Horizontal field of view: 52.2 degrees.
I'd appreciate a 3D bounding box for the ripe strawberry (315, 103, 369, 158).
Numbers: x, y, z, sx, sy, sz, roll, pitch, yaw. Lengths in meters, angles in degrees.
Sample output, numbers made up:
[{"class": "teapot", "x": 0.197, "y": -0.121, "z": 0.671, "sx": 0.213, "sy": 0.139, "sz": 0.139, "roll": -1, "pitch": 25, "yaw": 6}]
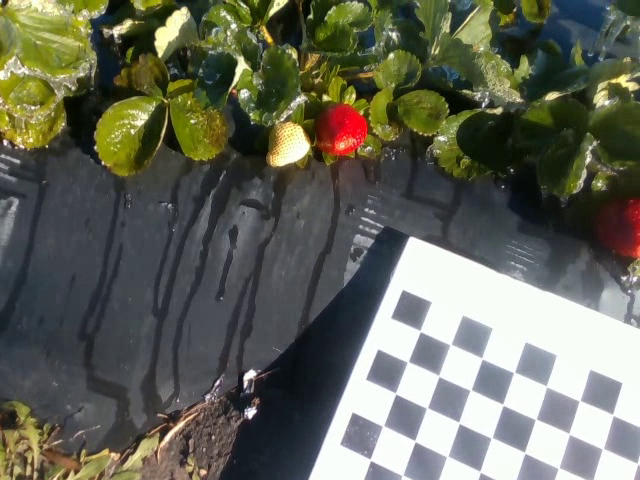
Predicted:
[{"class": "ripe strawberry", "x": 0.016, "y": -0.078, "z": 0.508, "sx": 0.042, "sy": 0.046, "sz": 0.061, "roll": 8, "pitch": 31, "yaw": 6}]
